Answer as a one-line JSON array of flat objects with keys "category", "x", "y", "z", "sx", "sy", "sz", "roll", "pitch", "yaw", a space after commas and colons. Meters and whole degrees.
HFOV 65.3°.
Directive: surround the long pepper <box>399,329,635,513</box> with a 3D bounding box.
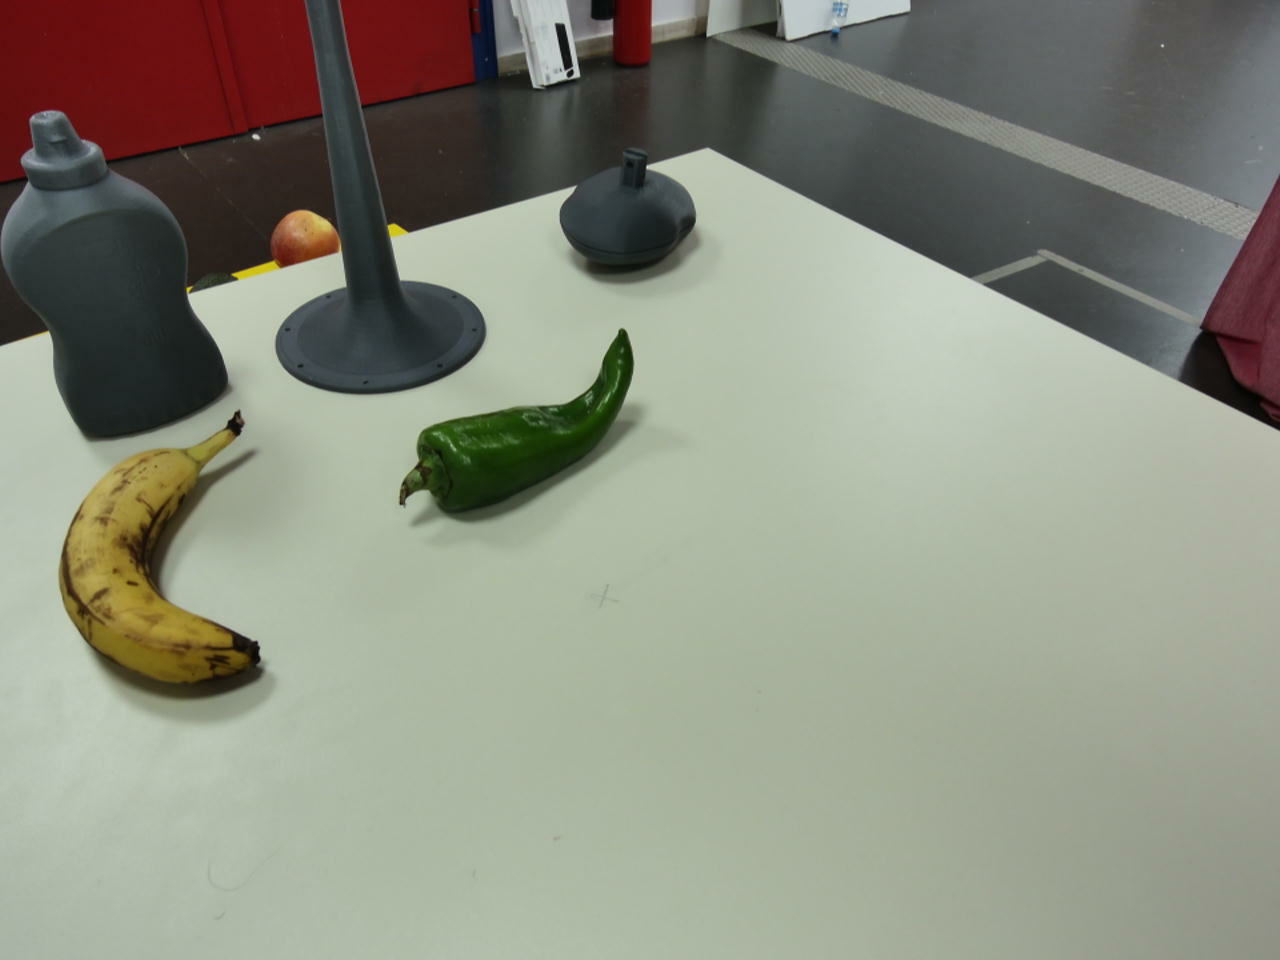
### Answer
[{"category": "long pepper", "x": -0.068, "y": -0.032, "z": 0.597, "sx": 0.175, "sy": 0.065, "sz": 0.058, "roll": -26, "pitch": 46, "yaw": -30}]
